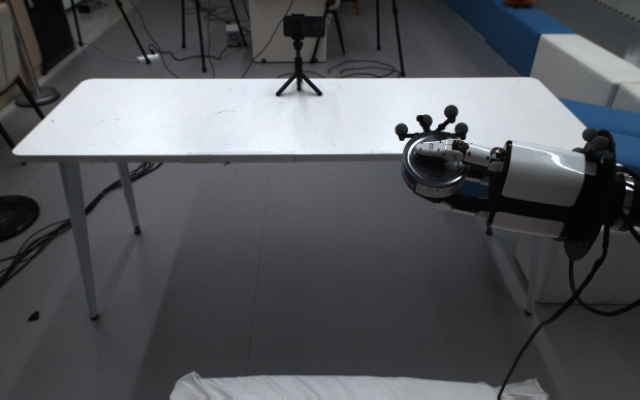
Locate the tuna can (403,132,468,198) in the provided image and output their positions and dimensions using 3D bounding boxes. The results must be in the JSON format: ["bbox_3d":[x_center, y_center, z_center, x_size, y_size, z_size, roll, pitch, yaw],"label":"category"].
[{"bbox_3d":[0.149,-0.047,0.625,0.085,0.034,0.085,-2,58,3],"label":"tuna can"}]
